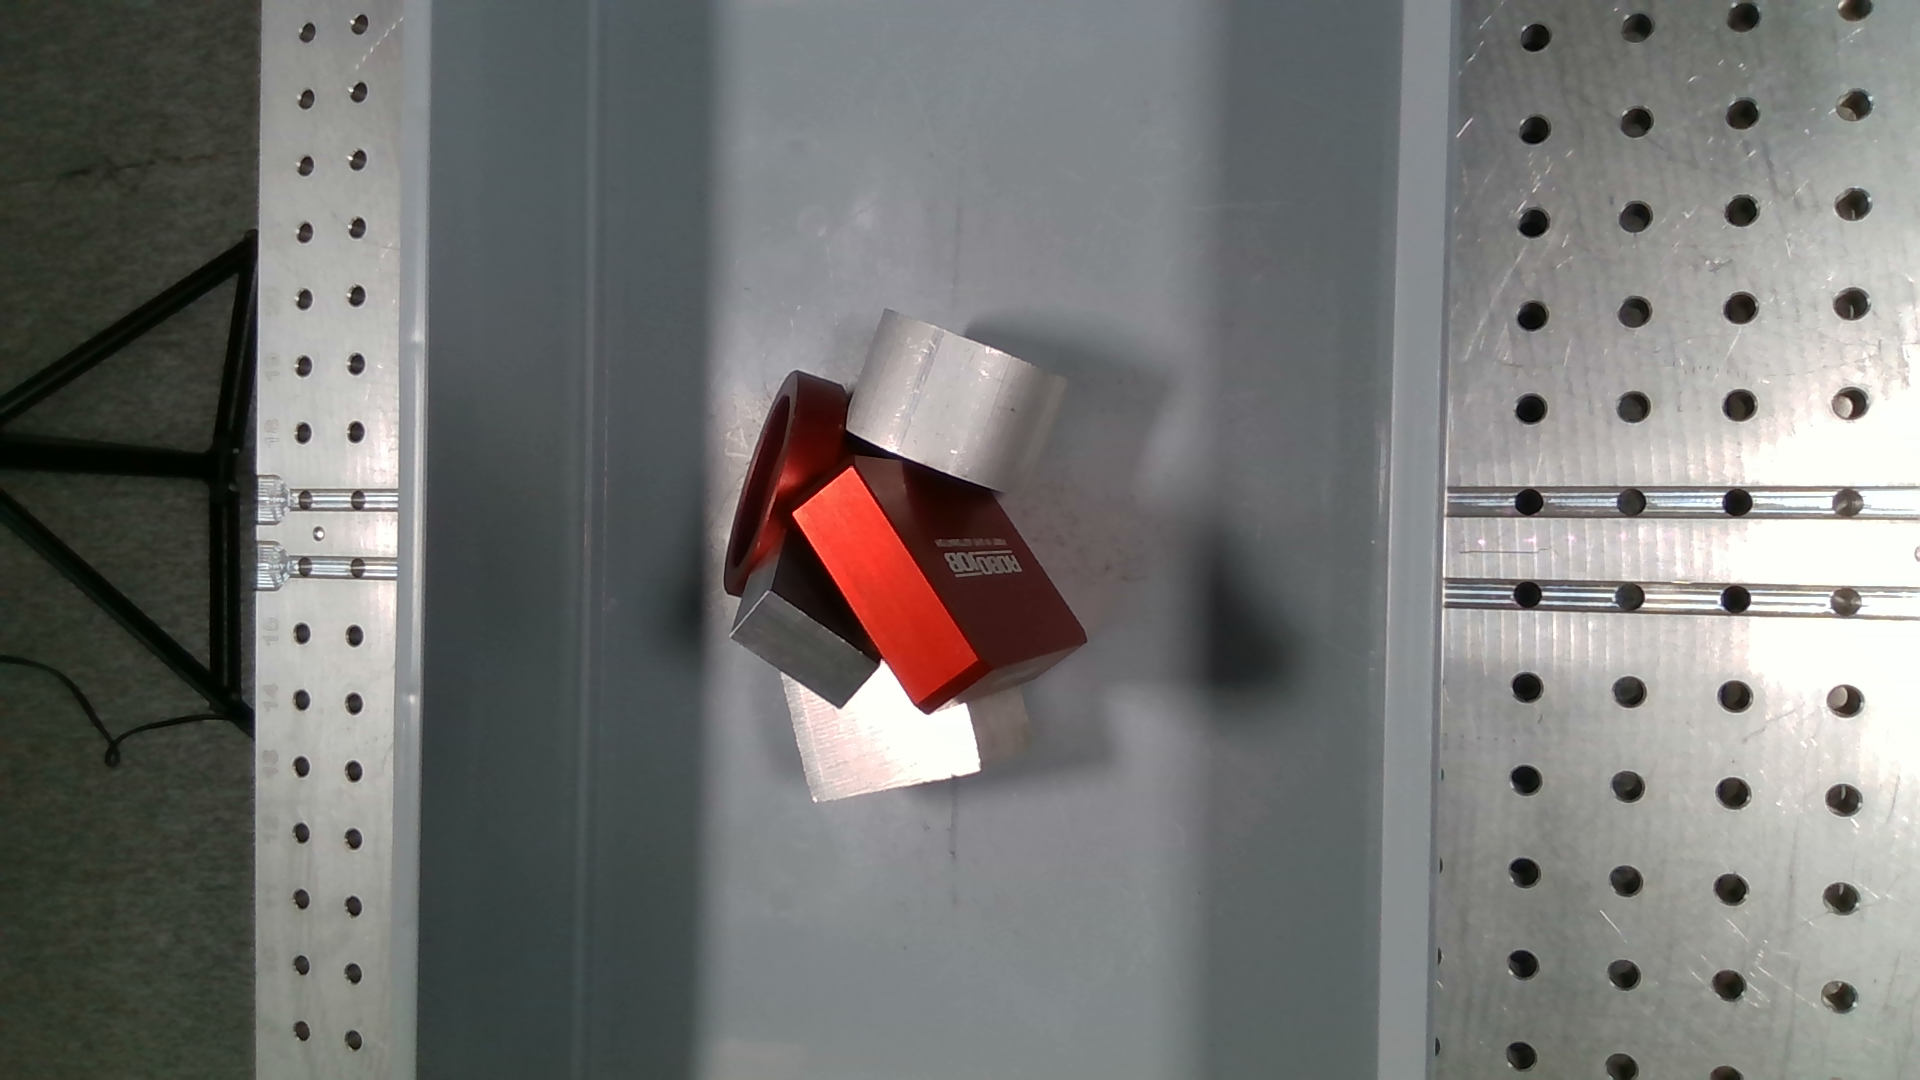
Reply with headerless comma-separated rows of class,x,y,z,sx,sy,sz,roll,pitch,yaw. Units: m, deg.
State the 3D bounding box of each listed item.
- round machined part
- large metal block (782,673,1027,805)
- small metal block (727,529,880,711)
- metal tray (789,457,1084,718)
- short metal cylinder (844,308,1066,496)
round machined part,-0.065,-0.019,0.579,0.042,0.098,0.098,17,98,-16
large metal block,-0.026,0.059,0.573,0.080,0.050,0.080,-16,85,24
small metal block,-0.056,0.029,0.519,0.050,0.050,0.025,36,112,-16
metal tray,-0.004,0.015,0.530,0.030,0.130,0.090,-37,78,18
short metal cylinder,-0.002,-0.056,0.555,0.080,0.080,0.050,24,98,19
